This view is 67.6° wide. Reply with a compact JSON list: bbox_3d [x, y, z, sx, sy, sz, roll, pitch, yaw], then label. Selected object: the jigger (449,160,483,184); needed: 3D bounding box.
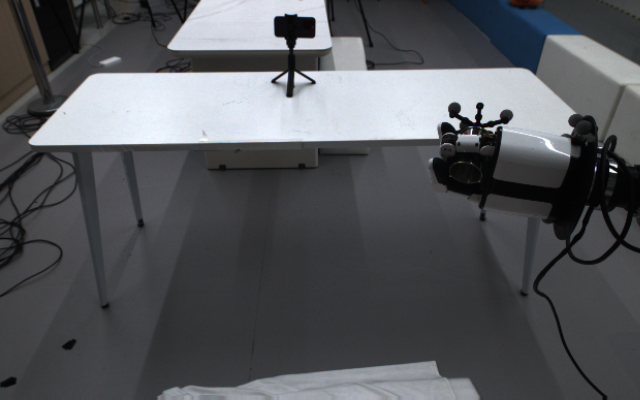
[{"bbox_3d":[0.205,-0.062,0.652,0.043,0.043,0.071,13,58,15],"label":"jigger"}]
